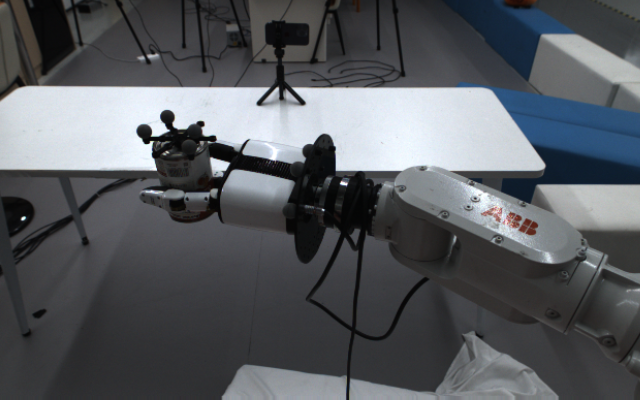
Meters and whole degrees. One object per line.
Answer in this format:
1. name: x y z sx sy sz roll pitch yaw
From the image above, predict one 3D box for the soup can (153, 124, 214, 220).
1. soup can: -0.170 -0.029 0.620 0.067 0.101 0.067 1 39 -1
